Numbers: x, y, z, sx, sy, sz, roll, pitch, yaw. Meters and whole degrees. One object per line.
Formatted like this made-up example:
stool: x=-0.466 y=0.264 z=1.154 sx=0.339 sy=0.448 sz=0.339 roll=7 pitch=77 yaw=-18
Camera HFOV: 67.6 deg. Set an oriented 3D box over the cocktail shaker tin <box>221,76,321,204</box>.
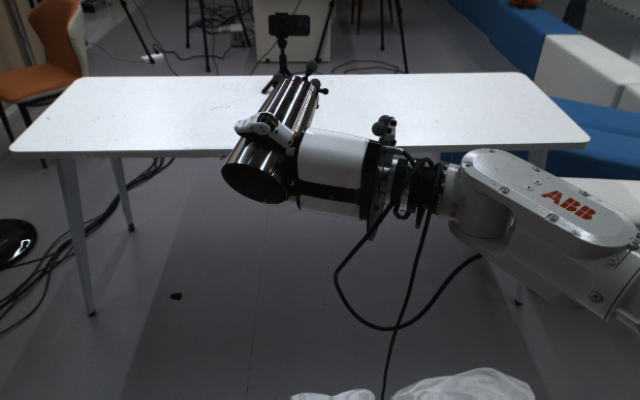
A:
cocktail shaker tin: x=-0.061 y=-0.091 z=0.669 sx=0.093 sy=0.093 sz=0.170 roll=13 pitch=60 yaw=16
